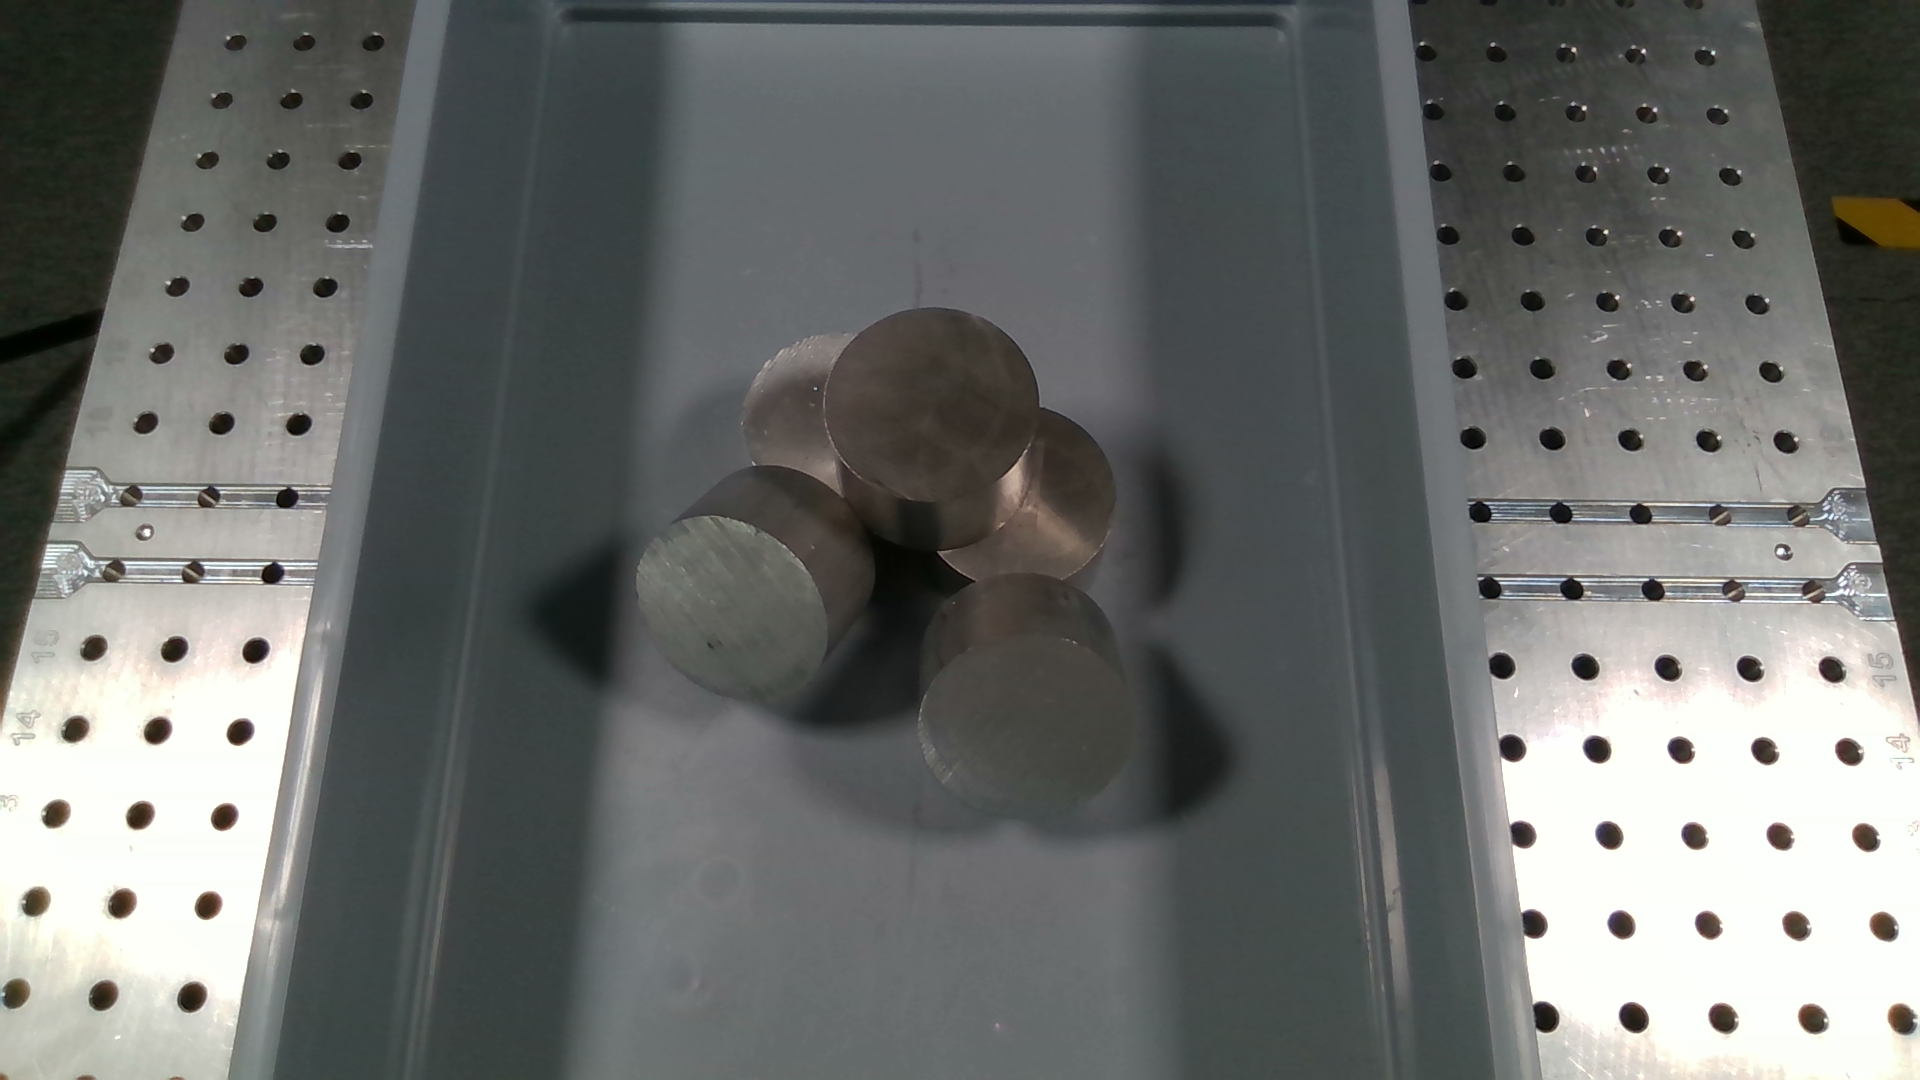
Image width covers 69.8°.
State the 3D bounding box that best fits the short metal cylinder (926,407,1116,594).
[{"bbox_3d":[0.023,-0.010,0.577,0.080,0.050,0.080,0,70,0],"label":"short metal cylinder"}]

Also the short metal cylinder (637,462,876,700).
[{"bbox_3d":[-0.080,0.016,0.545,0.080,0.080,0.050,22,31,8],"label":"short metal cylinder"}]

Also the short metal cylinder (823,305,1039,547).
[{"bbox_3d":[-0.011,-0.043,0.534,0.080,0.050,0.080,0,70,0],"label":"short metal cylinder"}]

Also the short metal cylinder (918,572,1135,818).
[{"bbox_3d":[0.024,0.059,0.531,0.080,0.050,0.080,-1,114,-1],"label":"short metal cylinder"}]

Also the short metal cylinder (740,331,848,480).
[{"bbox_3d":[-0.050,-0.042,0.589,0.080,0.050,0.080,0,70,0],"label":"short metal cylinder"}]
